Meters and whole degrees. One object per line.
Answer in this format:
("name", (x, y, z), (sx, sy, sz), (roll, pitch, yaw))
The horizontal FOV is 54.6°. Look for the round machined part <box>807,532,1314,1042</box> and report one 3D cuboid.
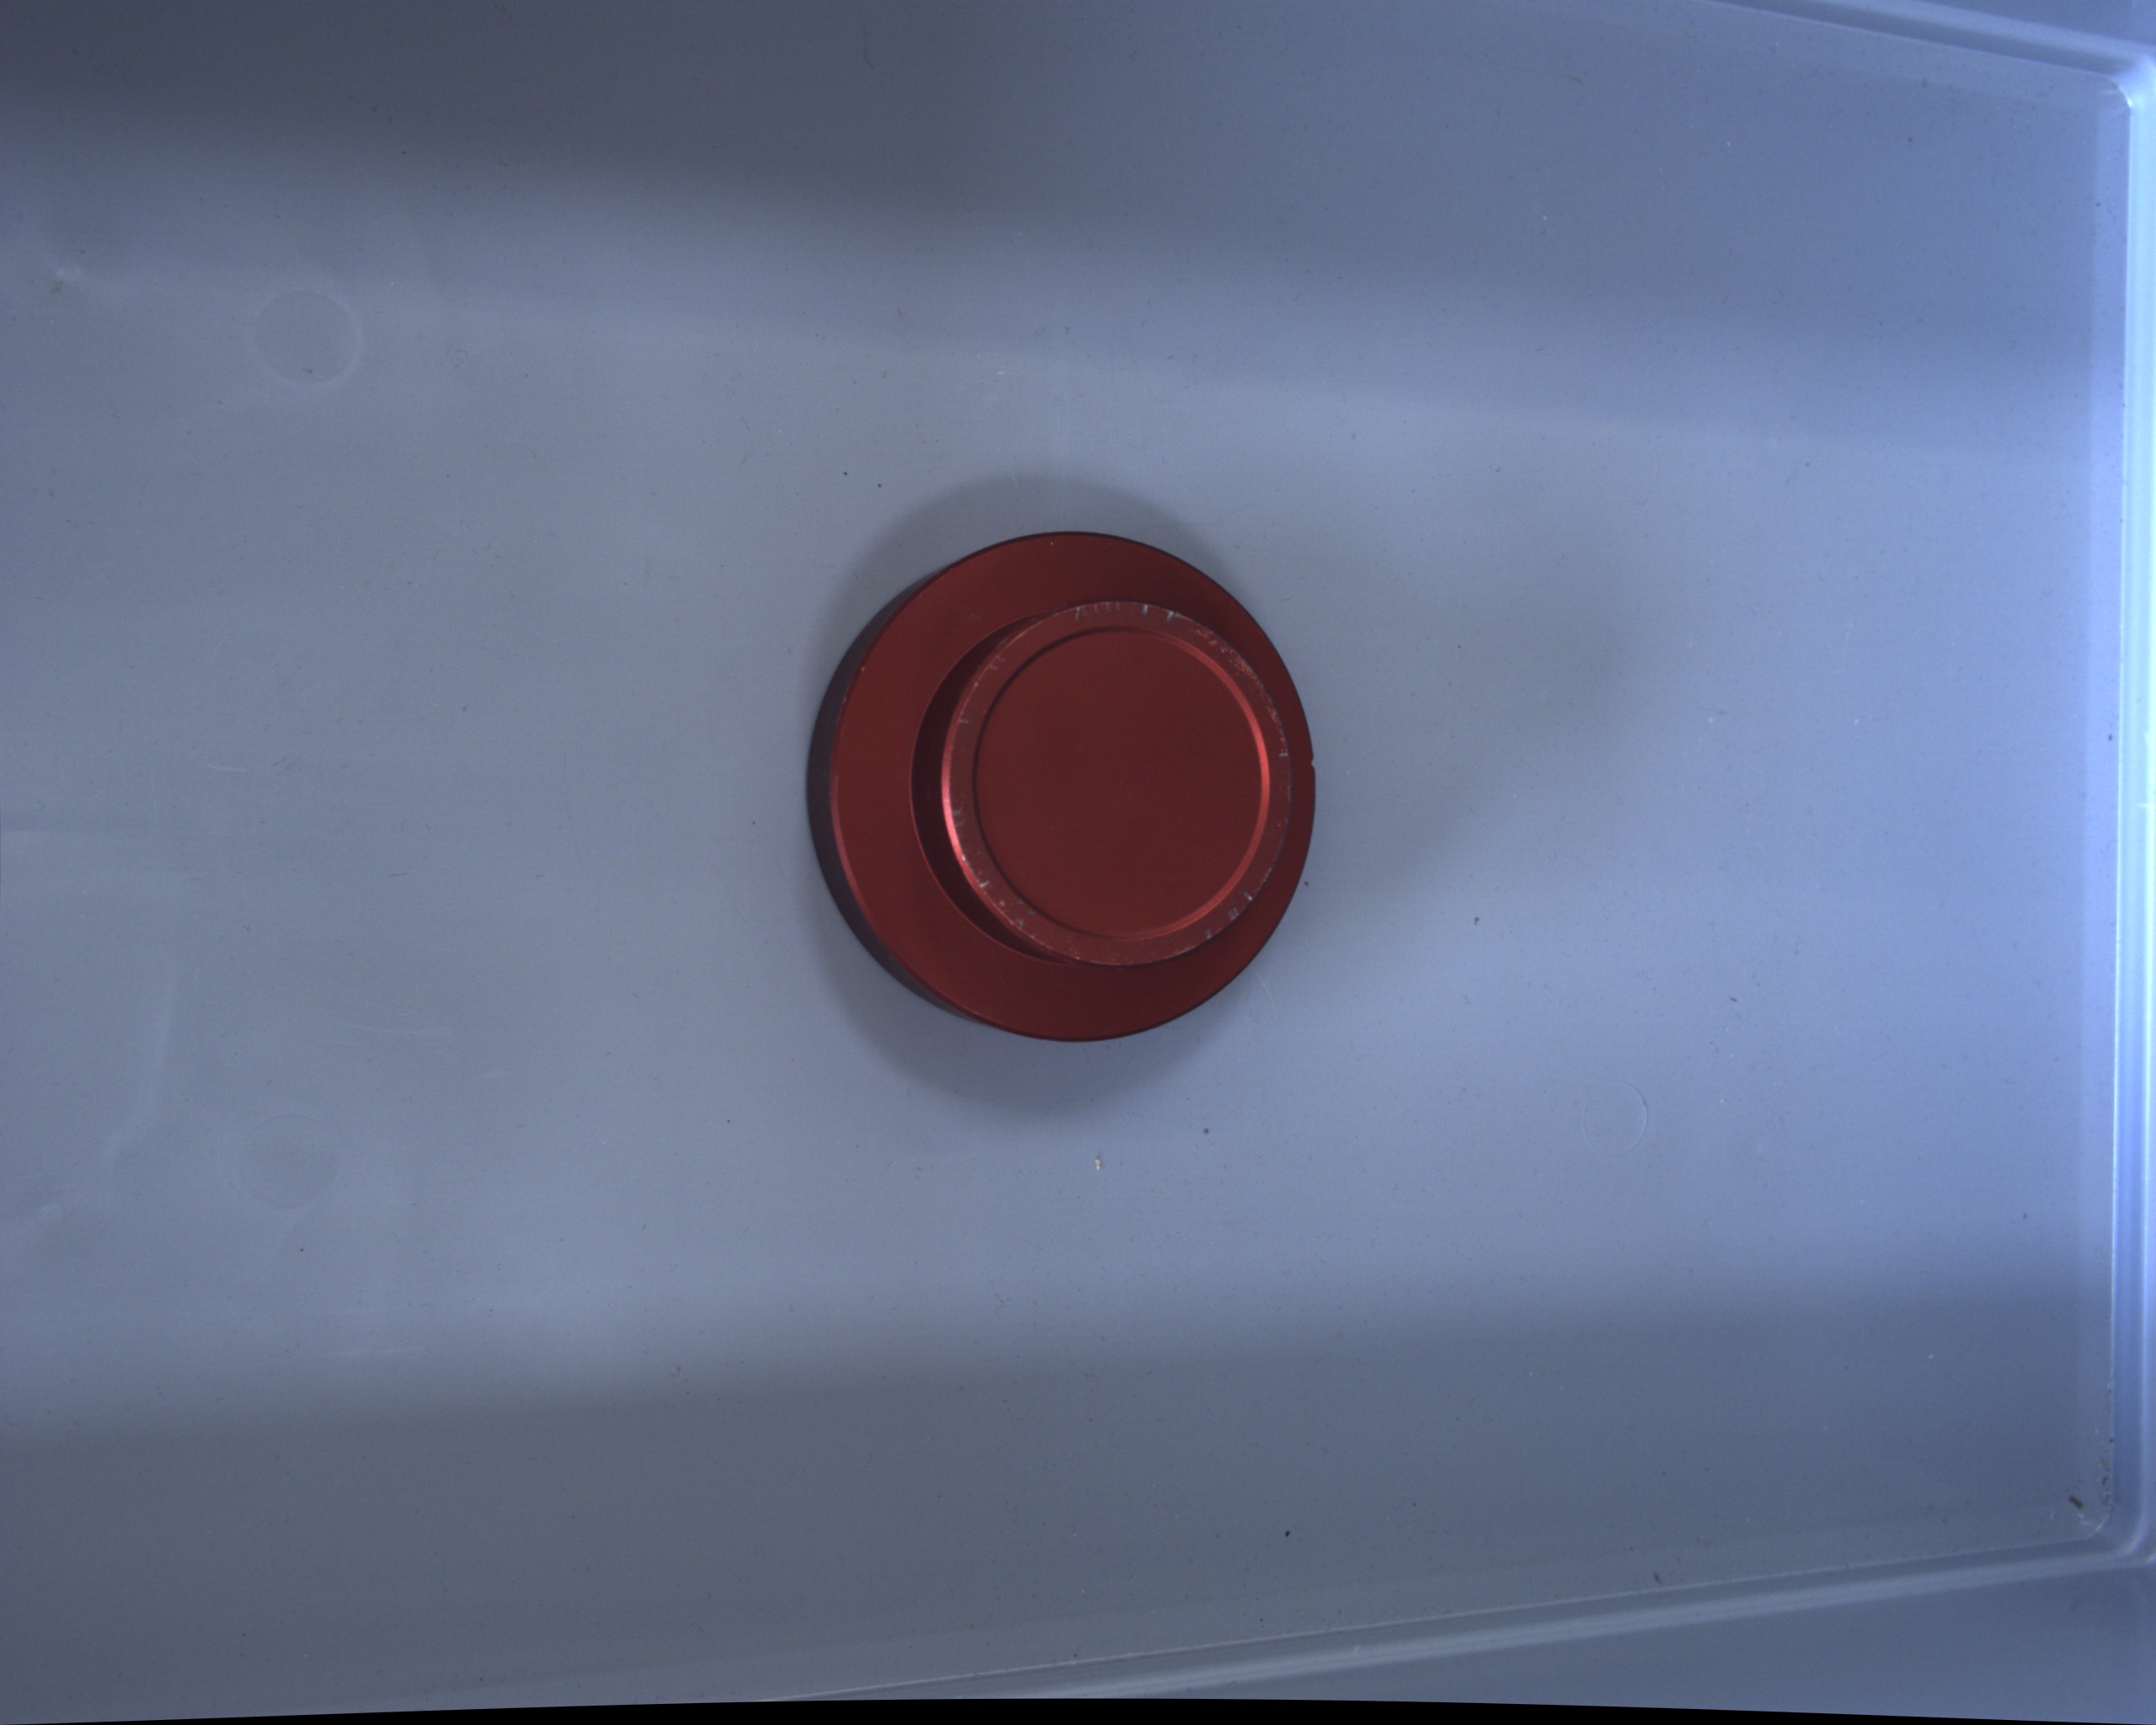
("round machined part", (0.001, -0.014, 0.398), (0.099, 0.042, 0.097), (0, 90, -20))
